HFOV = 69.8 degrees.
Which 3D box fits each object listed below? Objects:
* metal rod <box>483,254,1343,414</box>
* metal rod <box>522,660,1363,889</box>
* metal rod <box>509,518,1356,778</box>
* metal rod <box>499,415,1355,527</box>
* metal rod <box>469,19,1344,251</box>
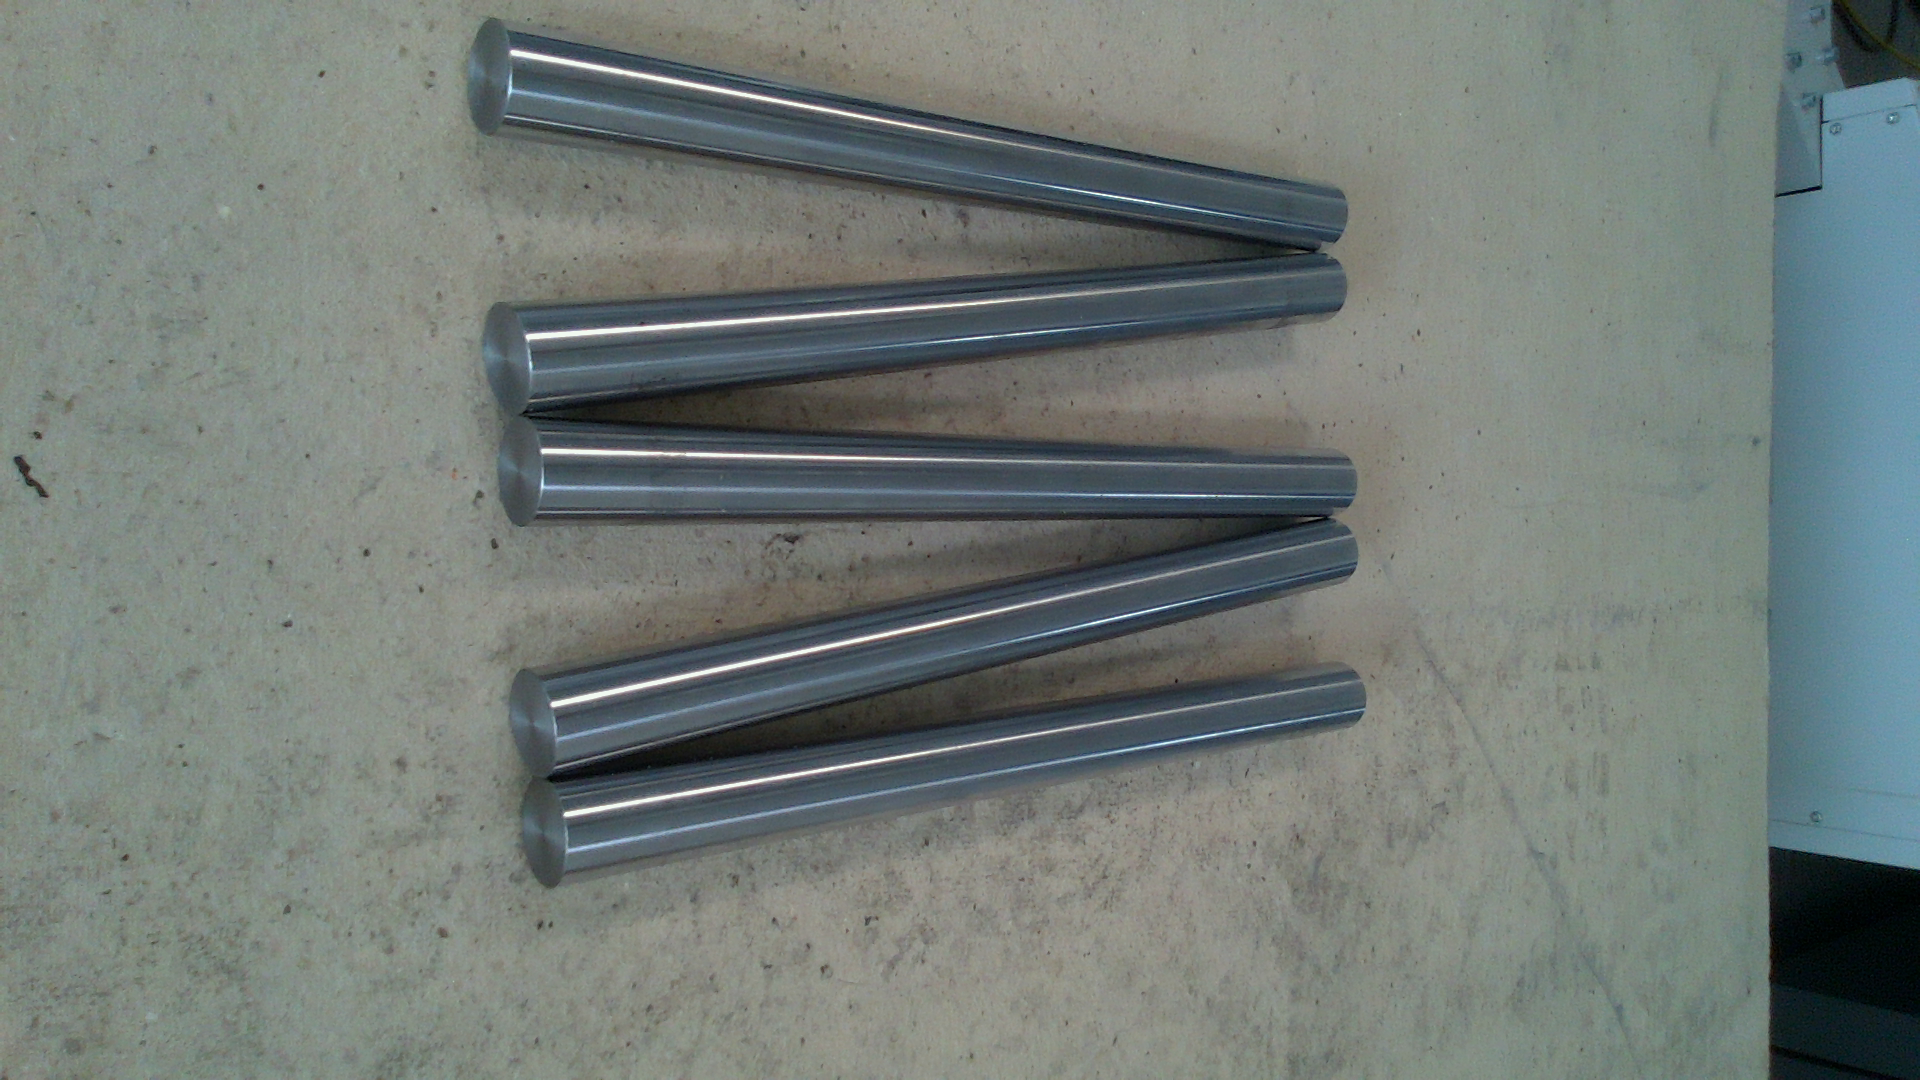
[{"bbox_3d":[0.013,-0.065,0.400,0.301,0.025,0.025,-12,98,-39],"label":"metal rod"},{"bbox_3d":[0.021,0.061,0.407,0.301,0.025,0.025,-2,92,-40],"label":"metal rod"},{"bbox_3d":[0.019,0.022,0.405,0.301,0.025,0.025,-9,96,-39],"label":"metal rod"},{"bbox_3d":[0.017,-0.018,0.403,0.301,0.025,0.025,-1,91,-40],"label":"metal rod"},{"bbox_3d":[0.012,-0.109,0.399,0.301,0.025,0.025,-3,92,-40],"label":"metal rod"}]
